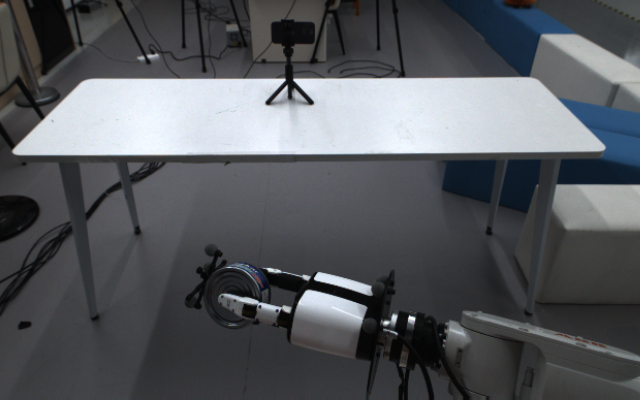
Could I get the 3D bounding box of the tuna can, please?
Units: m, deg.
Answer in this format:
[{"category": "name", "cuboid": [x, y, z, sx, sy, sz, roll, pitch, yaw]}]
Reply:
[{"category": "tuna can", "cuboid": [-0.108, 0.133, 0.645, 0.085, 0.085, 0.034, 12, 5, 14]}]
